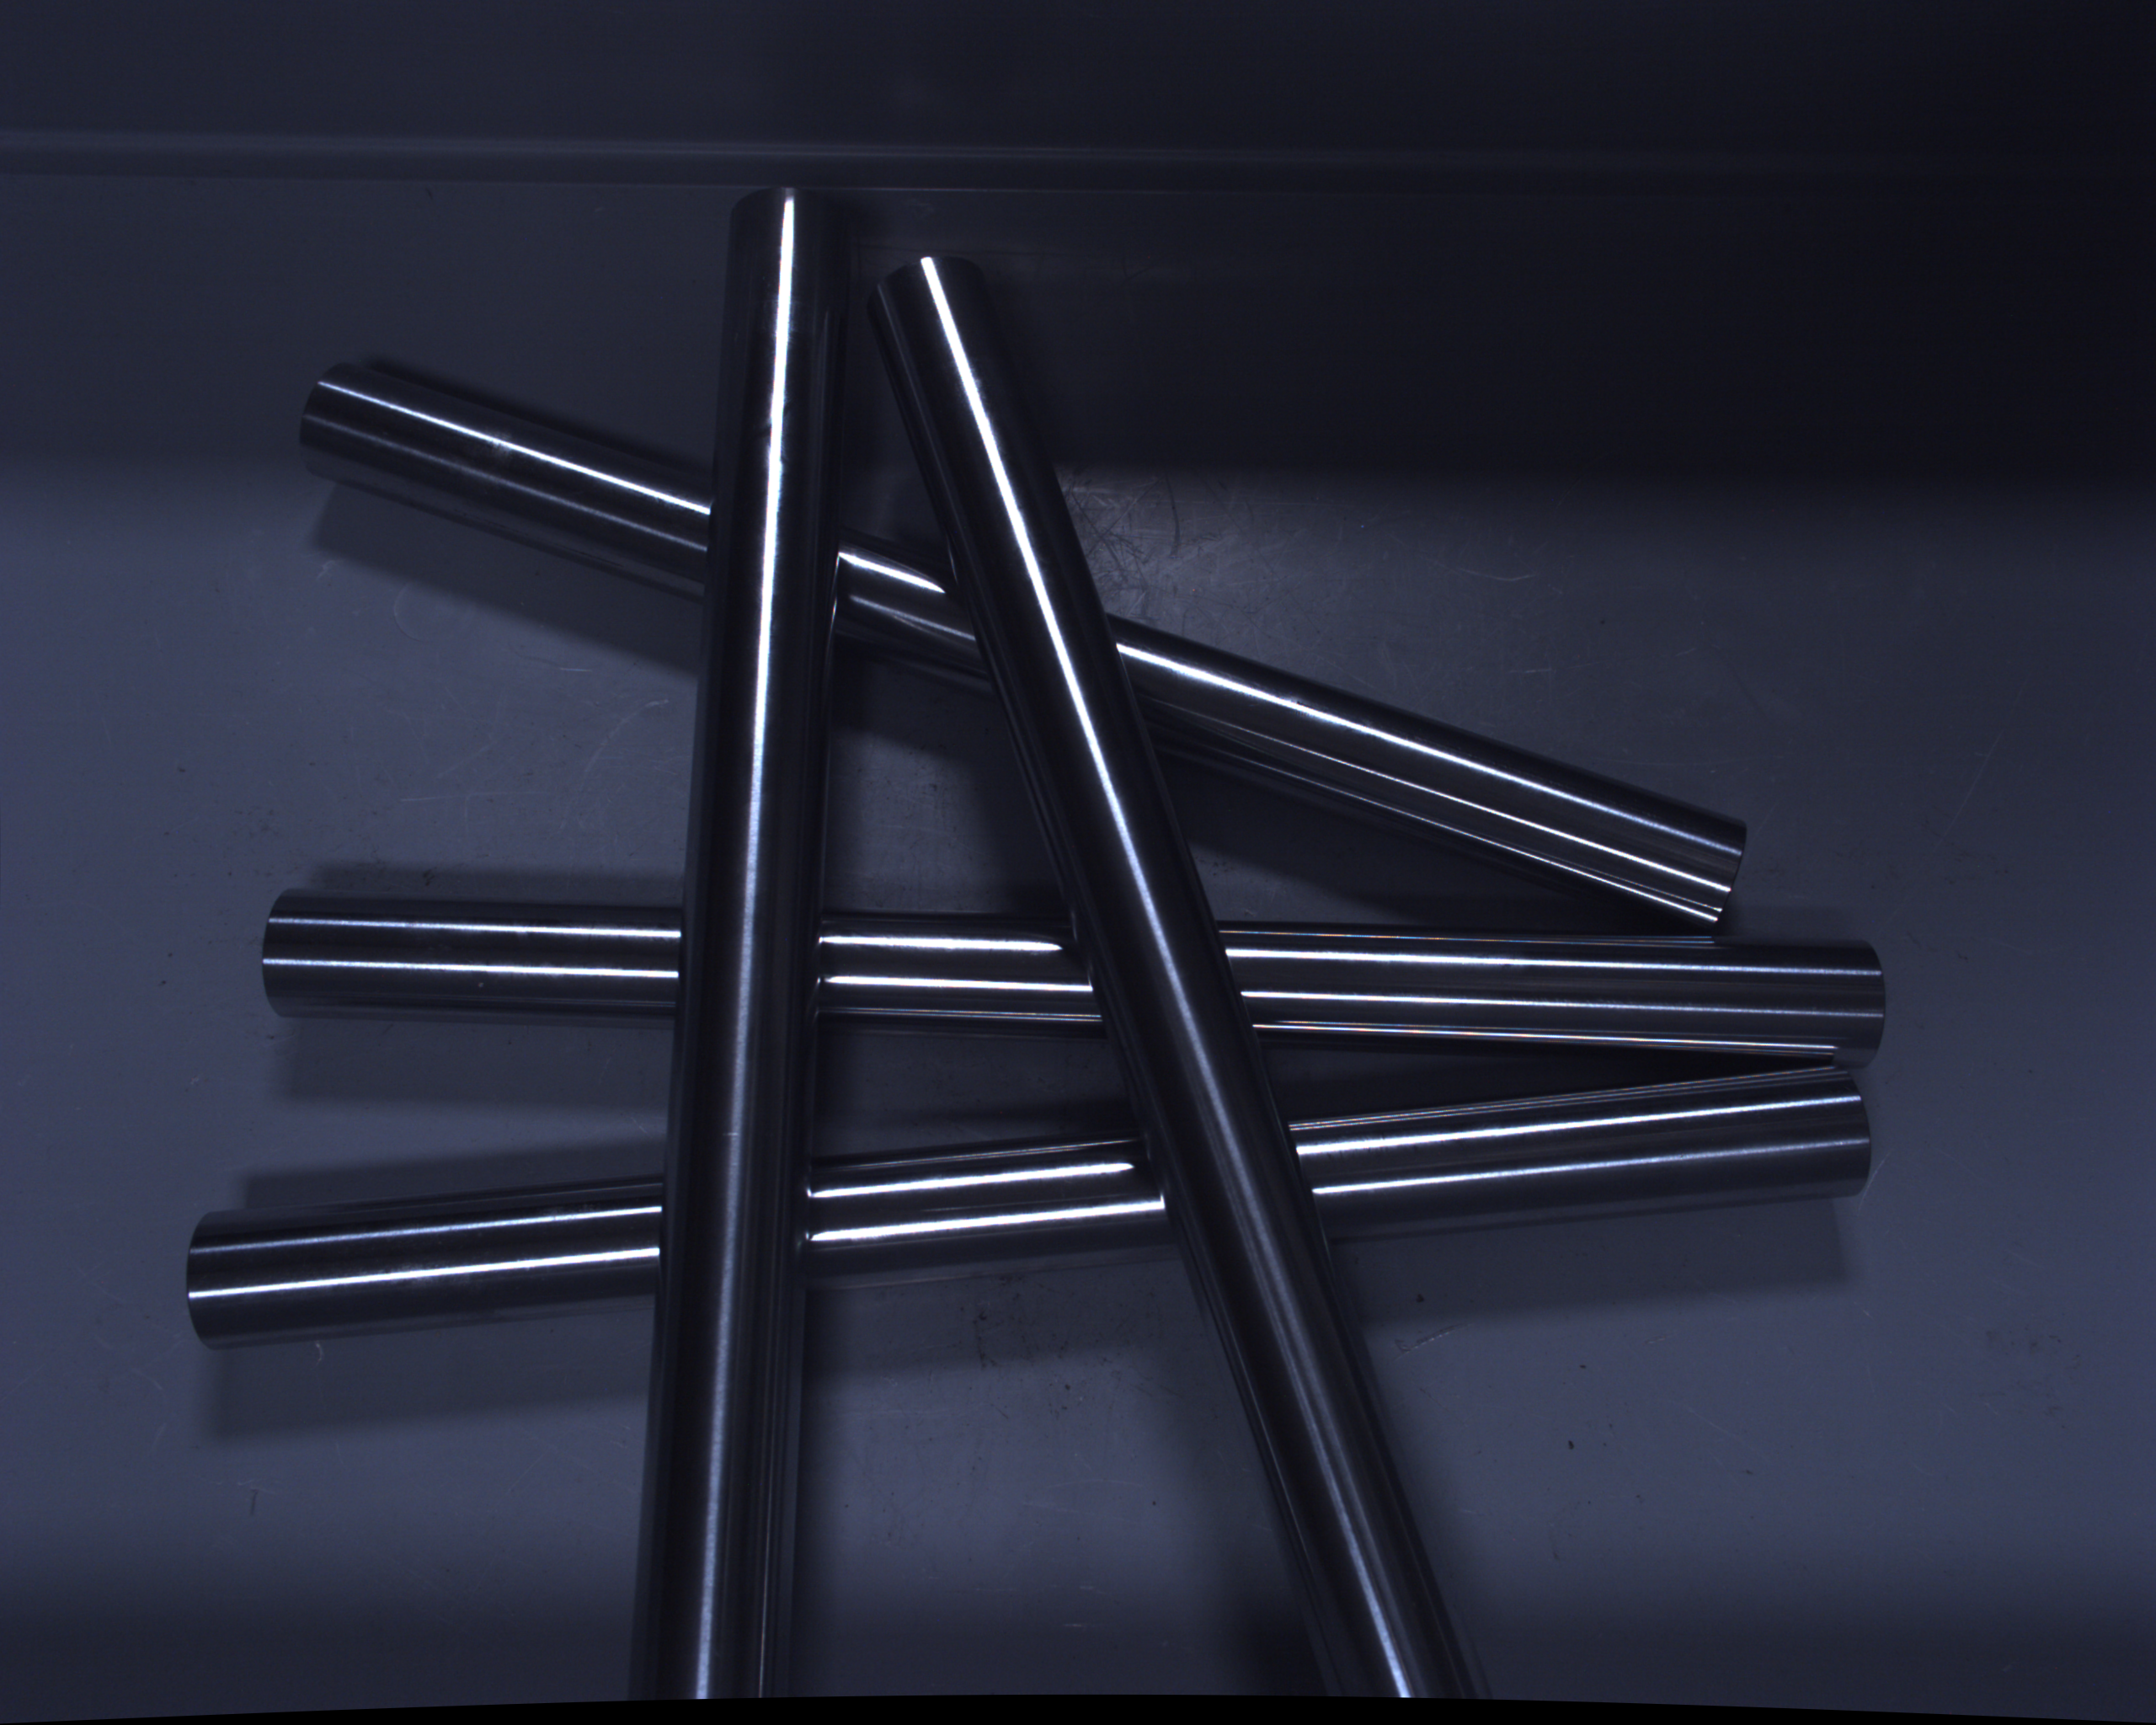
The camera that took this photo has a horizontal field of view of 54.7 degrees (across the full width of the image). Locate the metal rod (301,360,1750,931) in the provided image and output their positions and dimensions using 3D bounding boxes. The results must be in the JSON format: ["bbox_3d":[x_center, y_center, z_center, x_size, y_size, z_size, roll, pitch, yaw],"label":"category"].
[{"bbox_3d":[-0.015,-0.045,0.424,0.301,0.025,0.025,19,71,6],"label":"metal rod"}]

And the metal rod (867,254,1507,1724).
[{"bbox_3d":[0.015,0.019,0.375,0.025,0.025,0.299,-17,71,-6],"label":"metal rod"}]

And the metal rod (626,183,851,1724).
[{"bbox_3d":[-0.059,0.009,0.377,0.025,0.025,0.299,0,70,0],"label":"metal rod"}]

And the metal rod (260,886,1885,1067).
[{"bbox_3d":[-0.001,0.022,0.400,0.302,0.025,0.025,2,70,0],"label":"metal rod"}]

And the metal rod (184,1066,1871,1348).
[{"bbox_3d":[-0.007,0.063,0.385,0.302,0.025,0.025,-5,70,-2],"label":"metal rod"}]
